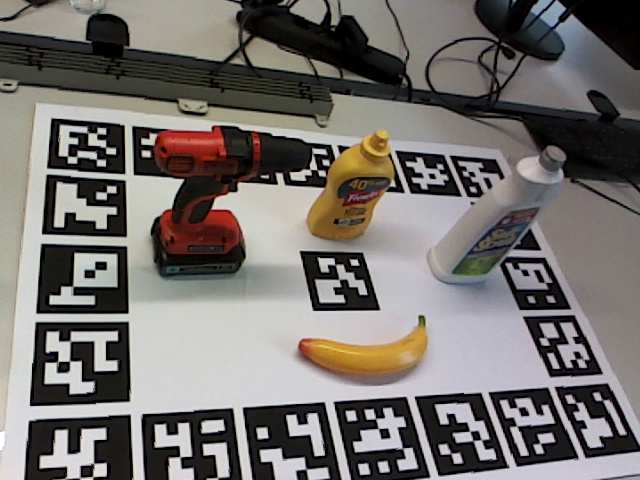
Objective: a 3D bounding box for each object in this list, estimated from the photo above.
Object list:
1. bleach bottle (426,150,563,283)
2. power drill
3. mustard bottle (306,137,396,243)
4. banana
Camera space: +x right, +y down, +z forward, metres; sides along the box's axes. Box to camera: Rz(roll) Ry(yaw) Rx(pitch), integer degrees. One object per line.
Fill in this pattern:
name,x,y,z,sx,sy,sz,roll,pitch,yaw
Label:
bleach bottle,0.253,-0.033,0.887,0.102,0.251,0.068,9,50,-16
power drill,-0.103,-0.061,0.763,0.184,0.187,0.057,-5,55,-21
mustard bottle,0.053,-0.073,0.880,0.096,0.191,0.059,-4,55,-28
banana,0.071,0.137,0.804,0.196,0.039,0.074,-4,57,-22
